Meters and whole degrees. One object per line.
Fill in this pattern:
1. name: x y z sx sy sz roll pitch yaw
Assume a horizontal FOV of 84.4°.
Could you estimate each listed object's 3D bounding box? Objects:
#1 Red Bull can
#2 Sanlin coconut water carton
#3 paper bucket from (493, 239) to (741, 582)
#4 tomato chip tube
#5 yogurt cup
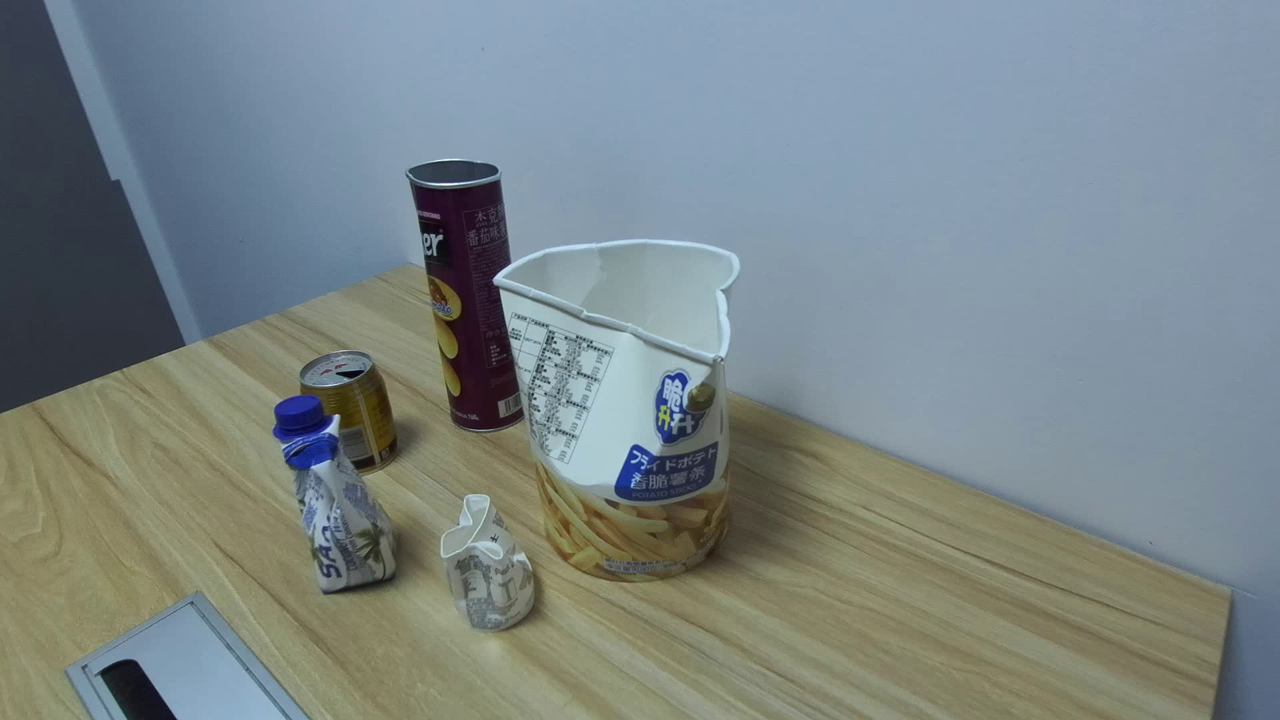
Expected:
1. Red Bull can: -0.254 0.046 0.617 0.068 0.093 0.068 -1 30 1
2. Sanlin coconut water carton: -0.213 0.096 0.478 0.057 0.145 0.068 -17 40 -9
3. paper bucket: -0.014 0.036 0.513 0.162 0.202 0.169 3 28 9
4. tomato chip tube: -0.147 -0.052 0.630 0.077 0.234 0.080 -8 31 -10
5. yogurt cup: -0.102 0.136 0.469 0.055 0.072 0.055 0 31 11
